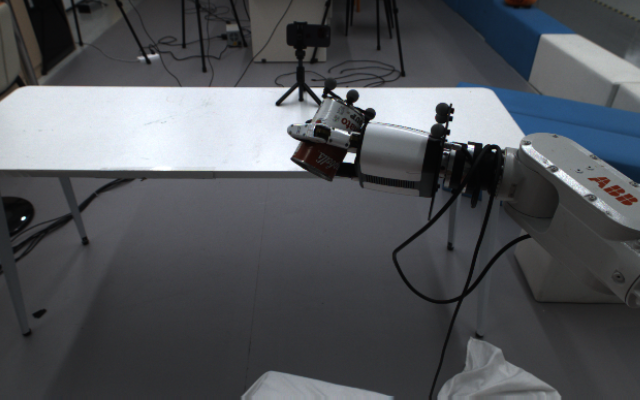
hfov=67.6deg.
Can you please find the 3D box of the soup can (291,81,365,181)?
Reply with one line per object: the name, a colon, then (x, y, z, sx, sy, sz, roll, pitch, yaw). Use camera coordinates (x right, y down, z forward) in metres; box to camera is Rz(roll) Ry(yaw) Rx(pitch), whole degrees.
soup can: (0.012, -0.086, 0.684, 0.067, 0.101, 0.067, 29, -2, 1)
